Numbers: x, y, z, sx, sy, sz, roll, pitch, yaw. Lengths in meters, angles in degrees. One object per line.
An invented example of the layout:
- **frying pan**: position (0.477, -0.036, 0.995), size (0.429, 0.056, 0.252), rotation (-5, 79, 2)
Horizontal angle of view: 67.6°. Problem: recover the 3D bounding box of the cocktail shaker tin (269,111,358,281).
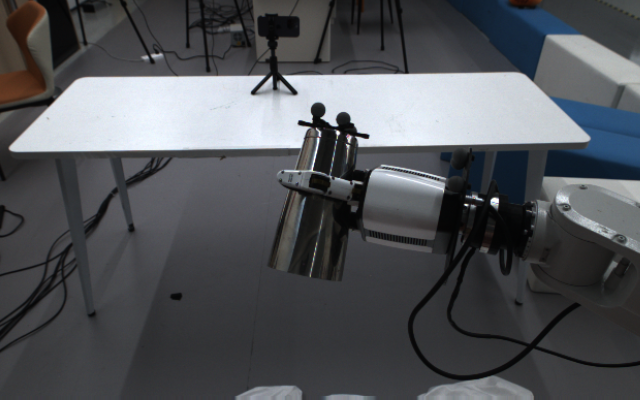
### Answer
- **cocktail shaker tin**: position (0.000, 0.005, 0.584), size (0.093, 0.170, 0.093), rotation (12, -5, 1)
